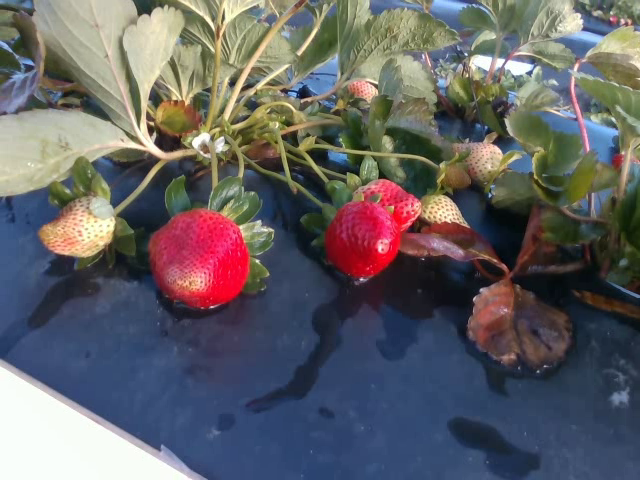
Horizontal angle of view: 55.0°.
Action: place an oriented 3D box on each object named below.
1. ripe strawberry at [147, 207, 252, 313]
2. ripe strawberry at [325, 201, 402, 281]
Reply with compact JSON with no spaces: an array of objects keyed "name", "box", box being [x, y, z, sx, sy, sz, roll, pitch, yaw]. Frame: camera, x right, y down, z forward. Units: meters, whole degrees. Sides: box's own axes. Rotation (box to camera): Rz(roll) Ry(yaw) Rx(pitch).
[{"name":"ripe strawberry","box":[-0.057,0.008,0.270,0.050,0.050,0.065,-17,9,5]},{"name":"ripe strawberry","box":[0.022,0.002,0.303,0.044,0.042,0.055,-38,14,-6]}]
